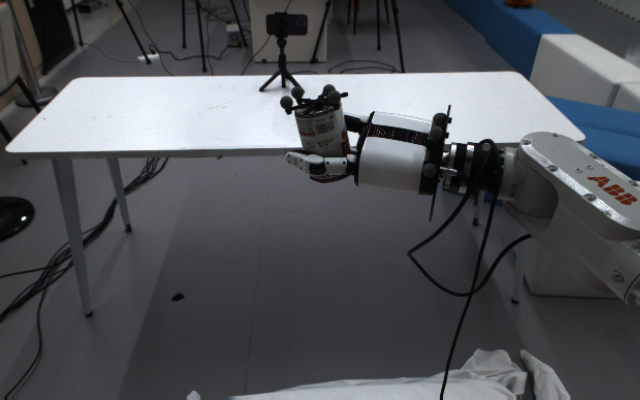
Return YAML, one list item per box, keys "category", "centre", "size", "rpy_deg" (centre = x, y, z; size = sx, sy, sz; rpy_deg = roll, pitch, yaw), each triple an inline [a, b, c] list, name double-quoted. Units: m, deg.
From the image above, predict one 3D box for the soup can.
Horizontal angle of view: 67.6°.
- category: "soup can"
  centre: [0.008, -0.084, 0.678]
  size: [0.067, 0.101, 0.067]
  rpy_deg: [-11, 27, 6]
